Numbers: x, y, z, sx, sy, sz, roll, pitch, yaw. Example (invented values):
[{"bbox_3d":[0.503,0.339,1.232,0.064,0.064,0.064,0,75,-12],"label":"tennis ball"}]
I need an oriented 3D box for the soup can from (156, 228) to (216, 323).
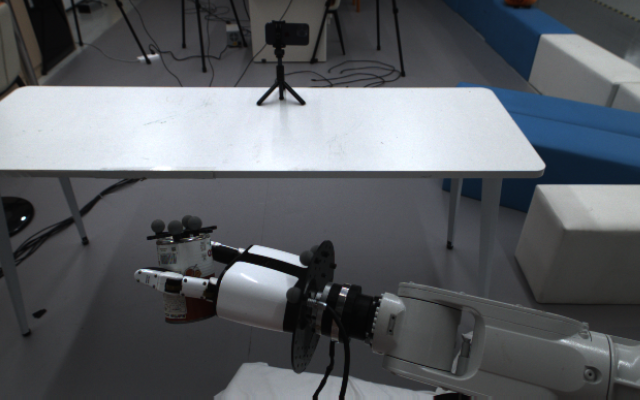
[{"bbox_3d":[-0.164,0.098,0.609,0.067,0.101,0.067,-6,3,0],"label":"soup can"}]
